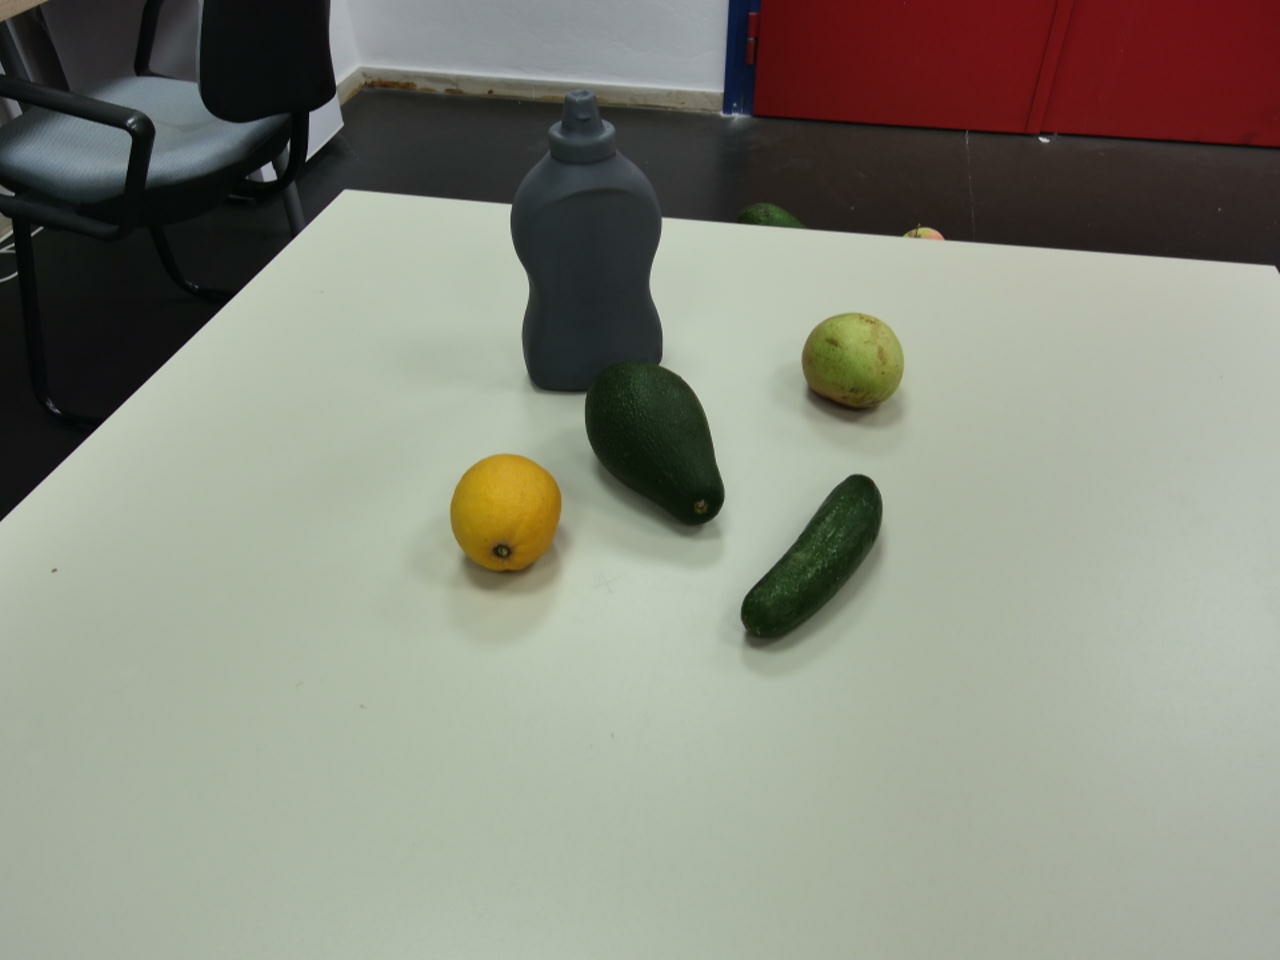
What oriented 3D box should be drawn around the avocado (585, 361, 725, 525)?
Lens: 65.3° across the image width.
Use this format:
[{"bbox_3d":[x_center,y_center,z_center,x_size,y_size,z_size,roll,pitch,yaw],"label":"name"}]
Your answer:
[{"bbox_3d":[0.006,-0.025,0.589,0.072,0.071,0.109,-7,39,-8],"label":"avocado"}]
